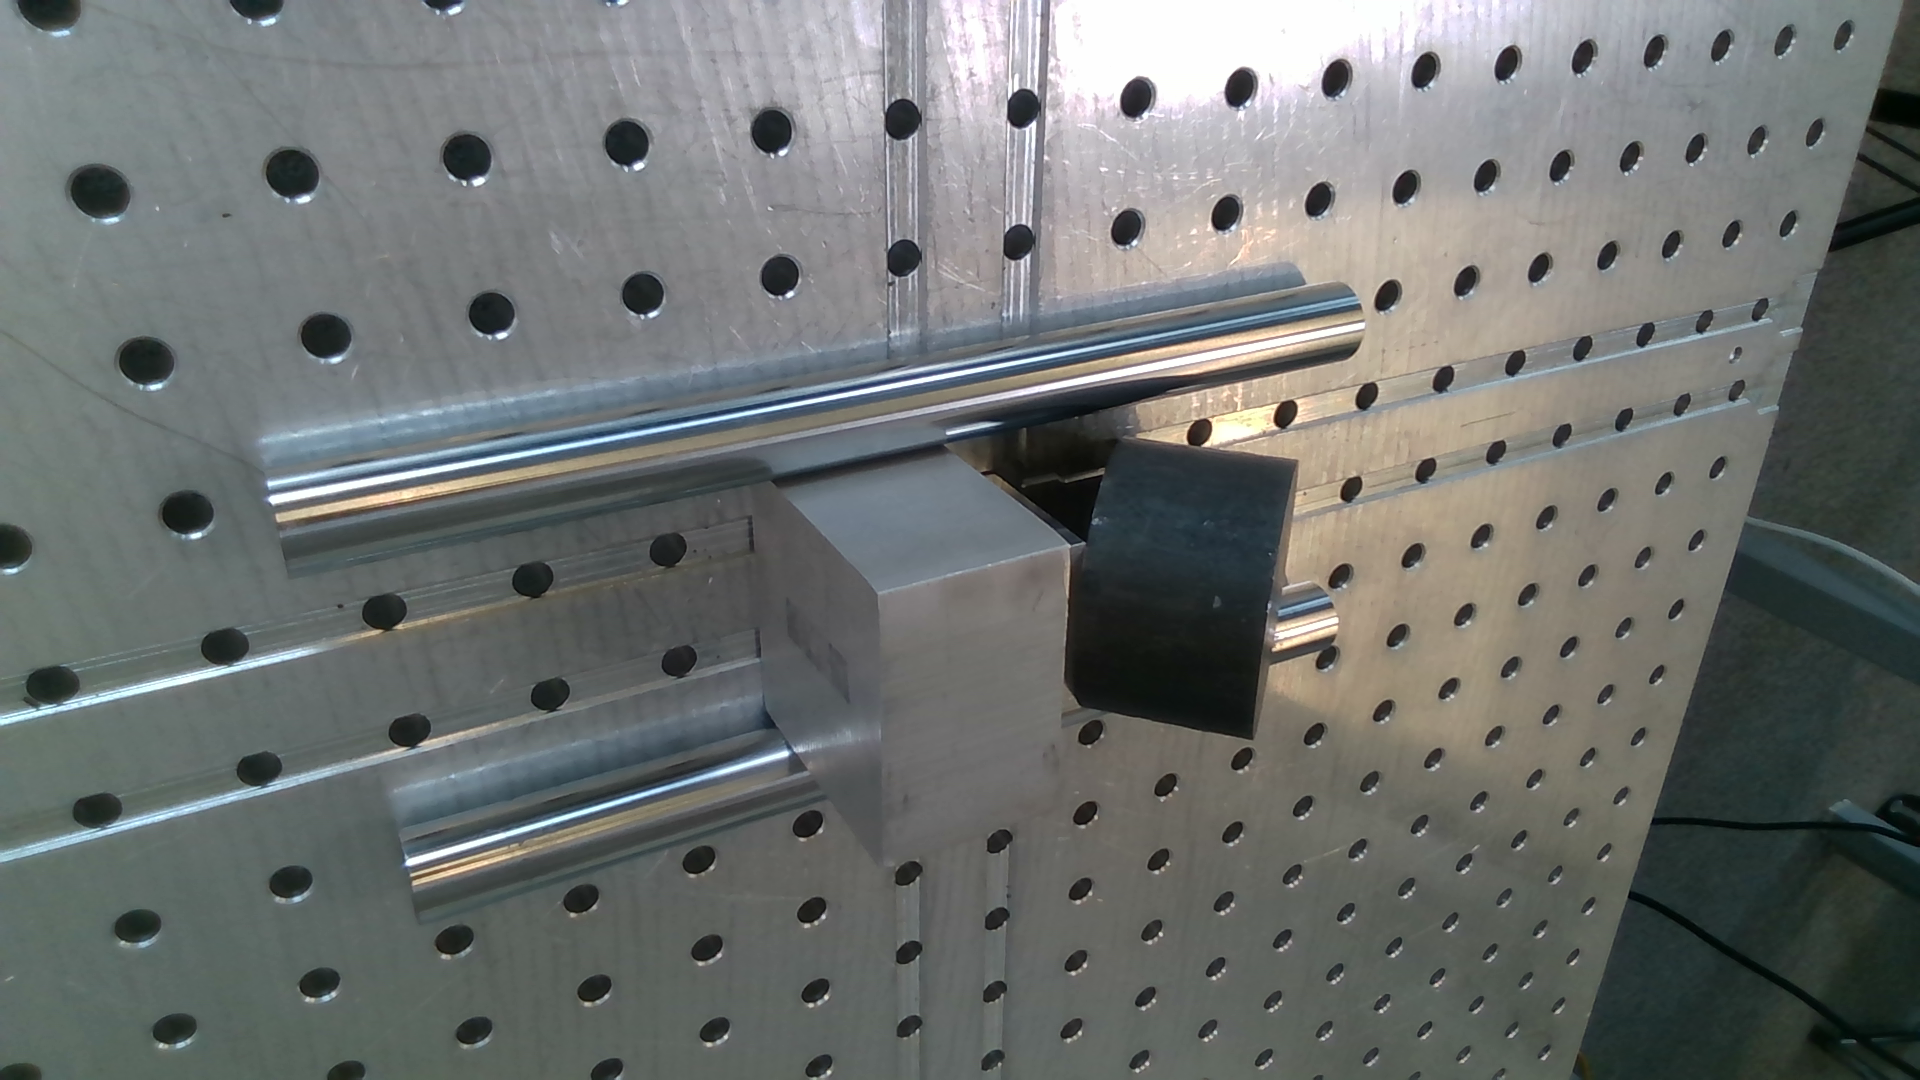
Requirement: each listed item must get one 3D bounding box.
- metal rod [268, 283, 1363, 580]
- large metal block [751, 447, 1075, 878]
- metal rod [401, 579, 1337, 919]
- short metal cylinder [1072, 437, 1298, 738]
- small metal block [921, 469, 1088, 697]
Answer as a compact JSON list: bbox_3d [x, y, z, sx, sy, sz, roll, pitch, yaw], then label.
[{"bbox_3d":[-0.016,-0.036,0.363,0.300,0.025,0.025,-14,121,-25],"label":"metal rod"},{"bbox_3d":[-0.015,0.025,0.359,0.050,0.080,0.080,-14,121,-25],"label":"large metal block"},{"bbox_3d":[-0.009,0.055,0.417,0.300,0.025,0.025,-13,121,-26],"label":"metal rod"},{"bbox_3d":[0.066,0.013,0.396,0.080,0.050,0.080,10,89,-75],"label":"short metal cylinder"},{"bbox_3d":[0.010,0.014,0.391,0.025,0.050,0.050,-13,121,-26],"label":"small metal block"}]
